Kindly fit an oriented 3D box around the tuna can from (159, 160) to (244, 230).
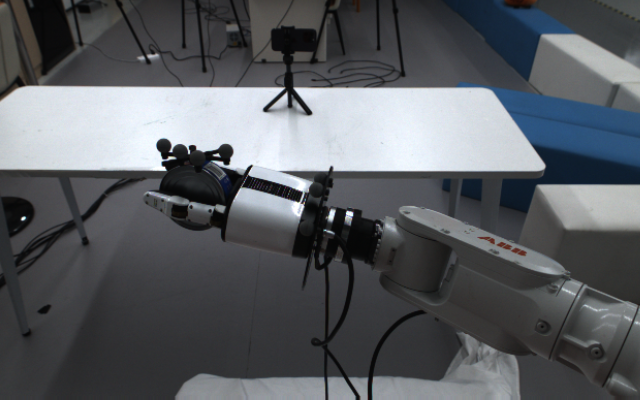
[{"bbox_3d":[-0.151,-0.007,0.601,0.085,0.085,0.034,9,22,9],"label":"tuna can"}]
